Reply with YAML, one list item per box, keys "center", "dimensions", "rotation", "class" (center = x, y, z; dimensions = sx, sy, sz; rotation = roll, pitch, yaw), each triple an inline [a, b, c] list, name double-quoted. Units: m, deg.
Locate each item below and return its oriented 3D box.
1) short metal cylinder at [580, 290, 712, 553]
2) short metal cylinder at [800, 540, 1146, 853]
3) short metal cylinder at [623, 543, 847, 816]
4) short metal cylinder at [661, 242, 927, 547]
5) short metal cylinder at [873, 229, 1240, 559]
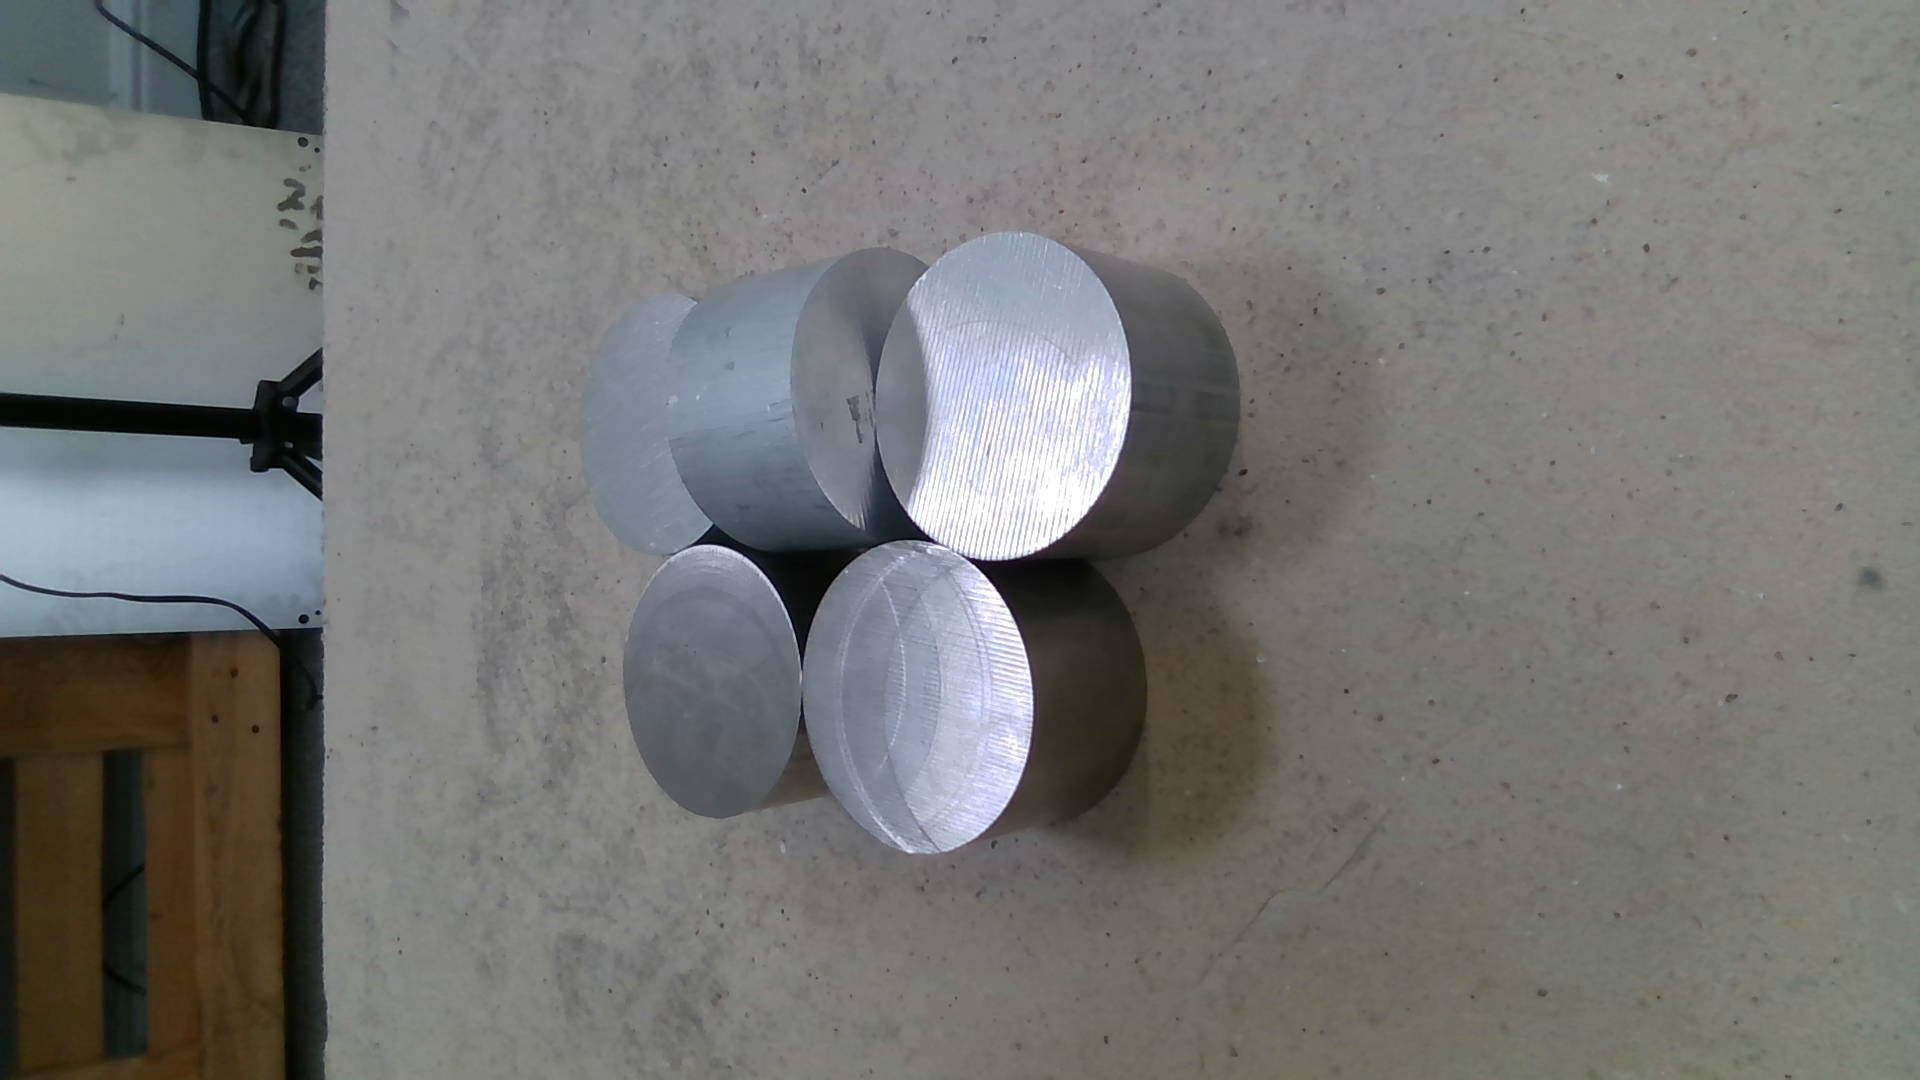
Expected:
- center: [-0.077, -0.036, 0.439]
  dimensions: [0.080, 0.050, 0.080]
  rotation: [-1, 89, 40]
  class: "short metal cylinder"
- center: [0.003, 0.040, 0.372]
  dimensions: [0.080, 0.050, 0.080]
  rotation: [0, 91, 41]
  class: "short metal cylinder"
- center: [-0.059, 0.041, 0.424]
  dimensions: [0.080, 0.050, 0.080]
  rotation: [-1, 89, 41]
  class: "short metal cylinder"
- center: [-0.035, -0.038, 0.384]
  dimensions: [0.050, 0.080, 0.080]
  rotation: [-4, 88, 40]
  class: "short metal cylinder"
- center: [0.024, -0.035, 0.354]
  dimensions: [0.080, 0.050, 0.080]
  rotation: [-1, 89, 40]
  class: "short metal cylinder"
